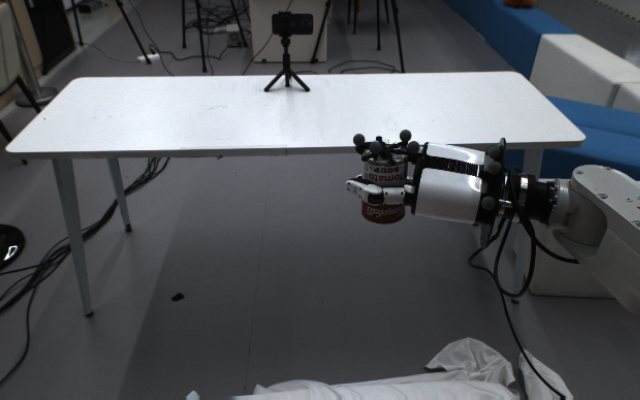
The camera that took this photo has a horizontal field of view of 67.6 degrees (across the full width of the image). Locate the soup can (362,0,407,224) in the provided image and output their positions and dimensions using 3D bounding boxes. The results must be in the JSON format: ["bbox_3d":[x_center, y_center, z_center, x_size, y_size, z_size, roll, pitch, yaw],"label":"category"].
[{"bbox_3d":[0.097,-0.025,0.720,0.067,0.101,0.067,-2,32,1],"label":"soup can"}]
